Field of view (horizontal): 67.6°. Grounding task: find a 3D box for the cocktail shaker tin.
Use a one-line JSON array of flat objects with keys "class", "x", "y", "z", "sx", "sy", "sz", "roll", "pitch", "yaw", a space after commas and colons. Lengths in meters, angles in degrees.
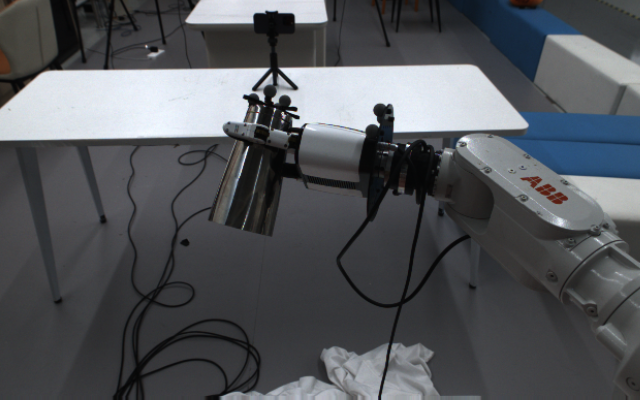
[{"class": "cocktail shaker tin", "x": -0.090, "y": -0.044, "z": 0.682, "sx": 0.093, "sy": 0.170, "sz": 0.093, "roll": 15, "pitch": -5, "yaw": 1}]
